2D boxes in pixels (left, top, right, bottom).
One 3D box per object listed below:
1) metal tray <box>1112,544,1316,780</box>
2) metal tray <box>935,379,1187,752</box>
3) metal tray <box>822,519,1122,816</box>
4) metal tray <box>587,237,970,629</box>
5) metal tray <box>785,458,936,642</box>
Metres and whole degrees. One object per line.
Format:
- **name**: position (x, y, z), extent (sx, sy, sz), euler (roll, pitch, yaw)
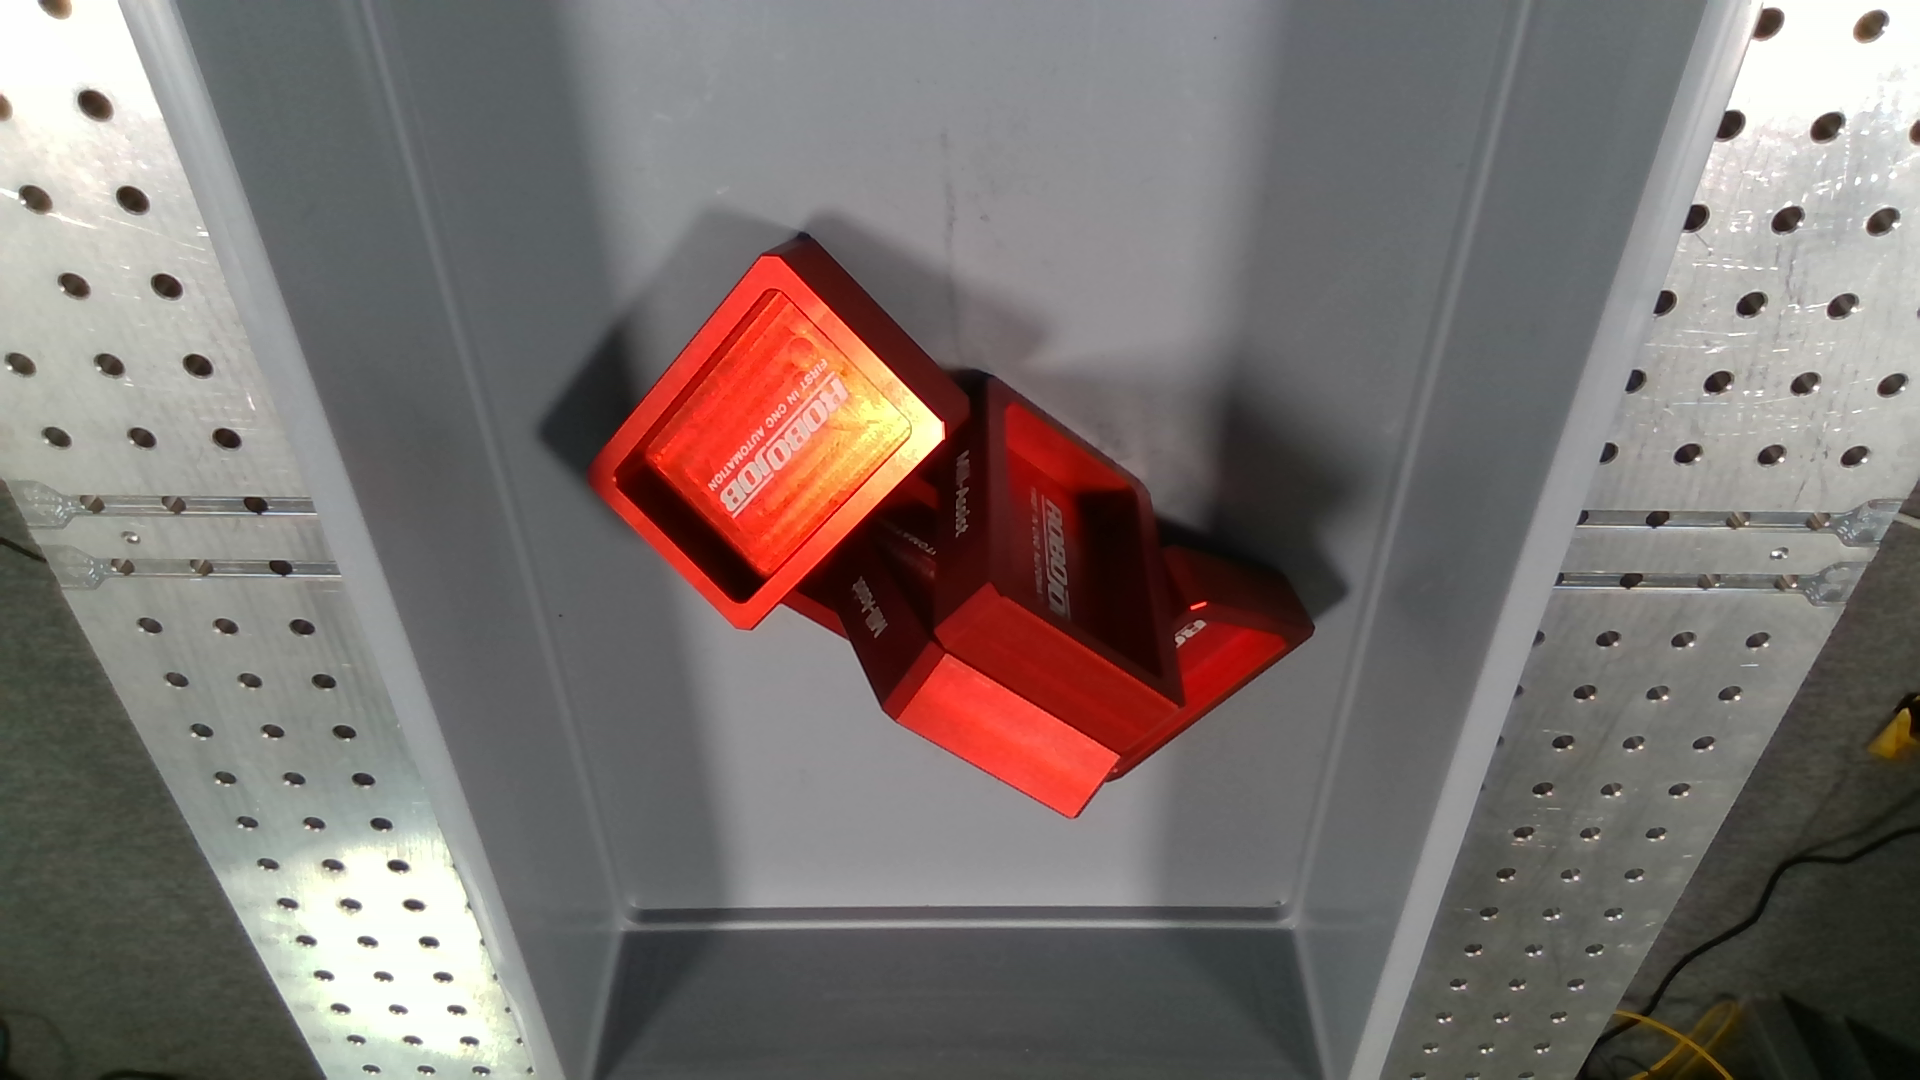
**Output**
- **metal tray**: position (0.079, 0.058, 0.601), extent (0.090, 0.030, 0.130), euler (13, 134, -44)
- **metal tray**: position (0.035, 0.006, 0.513), extent (0.090, 0.130, 0.030), euler (33, 122, -24)
- **metal tray**: position (0.001, 0.045, 0.531), extent (0.090, 0.130, 0.030), euler (33, 99, -25)
- **metal tray**: position (-0.071, -0.038, 0.520), extent (0.090, 0.030, 0.130), euler (45, 120, -4)
- **metal tray**: position (-0.009, 0.015, 0.586), extent (0.130, 0.030, 0.090), euler (32, 123, -24)
